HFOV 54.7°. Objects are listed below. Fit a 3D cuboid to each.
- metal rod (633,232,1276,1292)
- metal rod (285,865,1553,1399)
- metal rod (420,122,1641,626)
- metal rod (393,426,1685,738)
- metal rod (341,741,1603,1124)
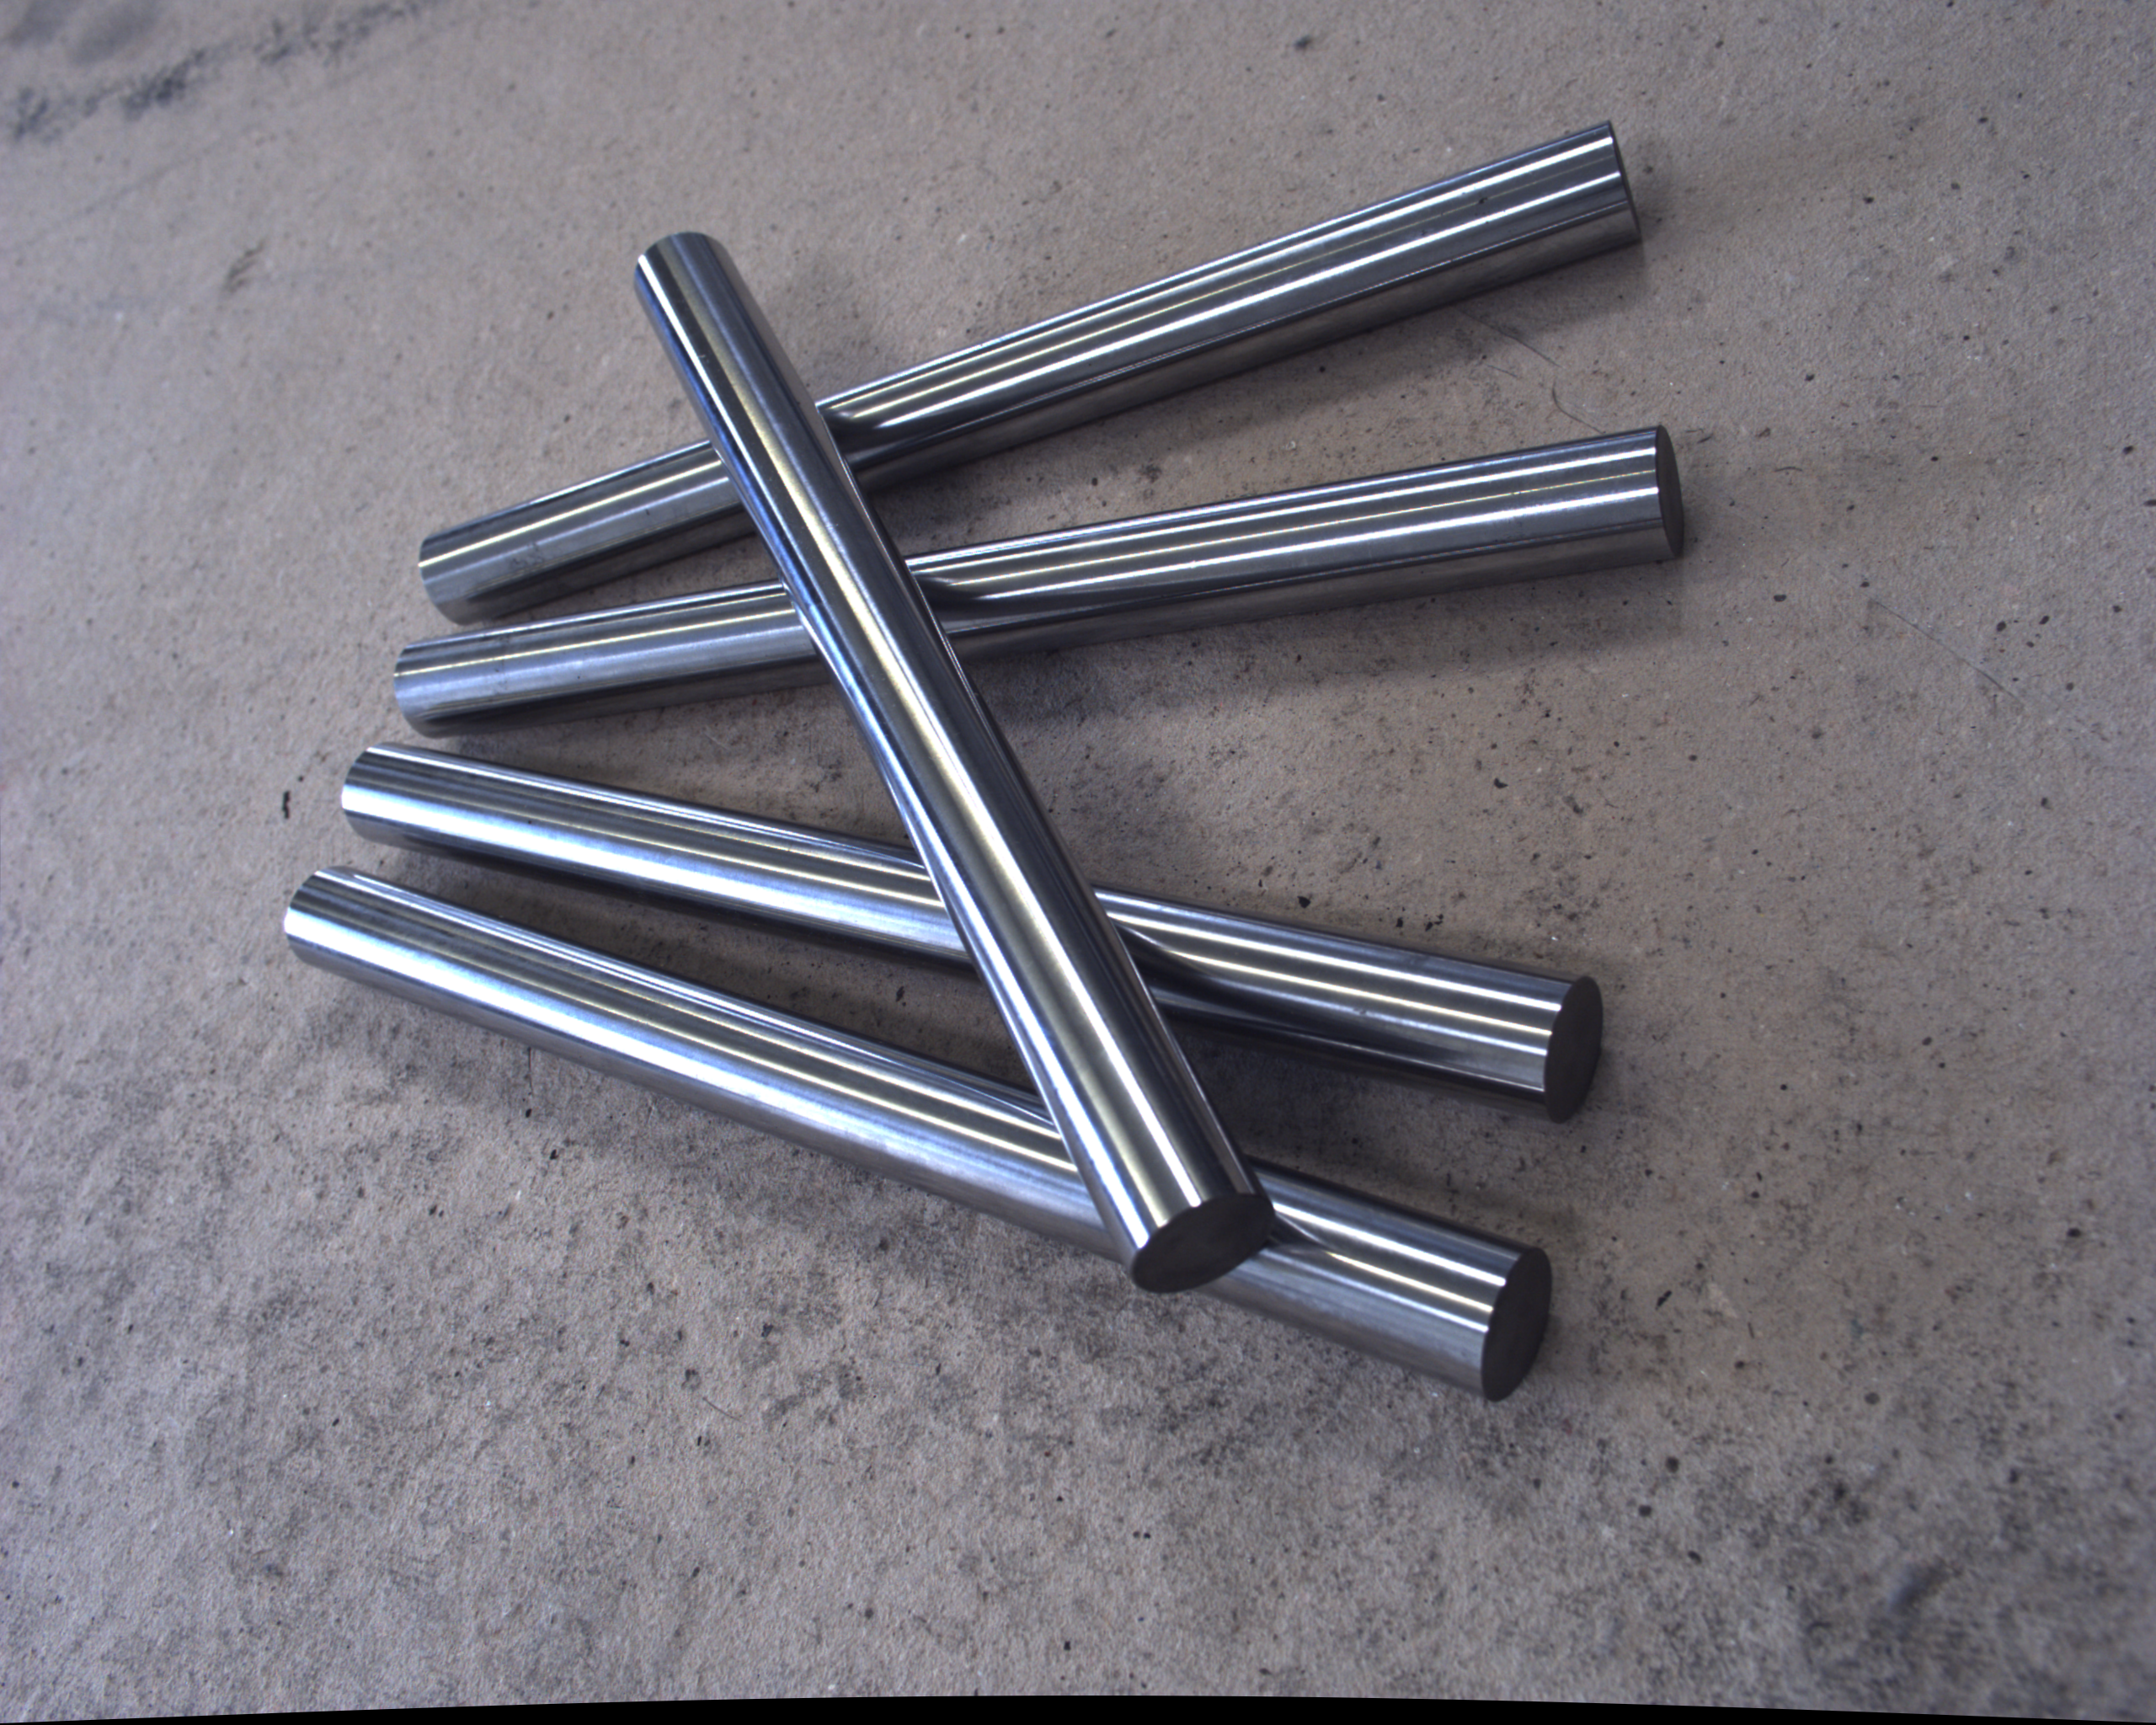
[{"bbox_3d":[-0.039,-0.042,0.419,0.025,0.025,0.300,-34,51,6],"label":"metal rod"},{"bbox_3d":[-0.053,0.042,0.408,0.300,0.025,0.025,14,69,33],"label":"metal rod"},{"bbox_3d":[-0.023,-0.107,0.484,0.301,0.025,0.025,-14,56,20],"label":"metal rod"},{"bbox_3d":[-0.025,-0.056,0.453,0.300,0.025,0.025,-5,59,25],"label":"metal rod"},{"bbox_3d":[-0.043,0.007,0.424,0.300,0.025,0.025,11,67,32],"label":"metal rod"}]
